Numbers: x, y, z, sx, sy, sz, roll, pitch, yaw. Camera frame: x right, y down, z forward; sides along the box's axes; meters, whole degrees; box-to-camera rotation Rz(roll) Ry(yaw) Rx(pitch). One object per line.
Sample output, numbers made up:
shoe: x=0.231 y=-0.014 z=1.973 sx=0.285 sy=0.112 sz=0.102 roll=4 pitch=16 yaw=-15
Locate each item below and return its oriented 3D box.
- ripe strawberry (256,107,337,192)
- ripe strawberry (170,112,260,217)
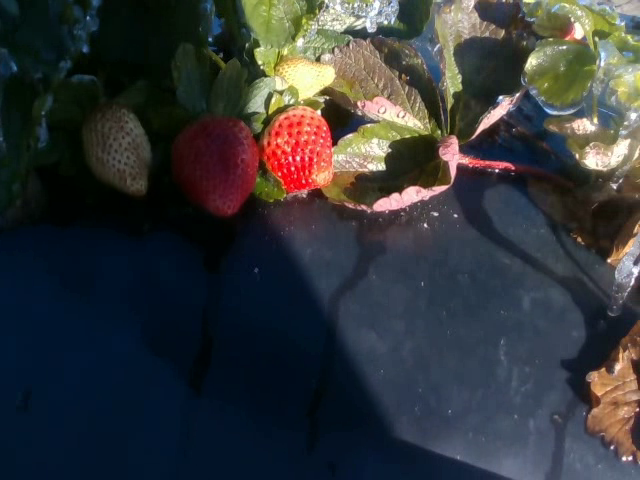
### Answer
ripe strawberry: x=-0.006 y=-0.036 z=0.254 sx=0.036 sy=0.041 sz=0.030 roll=-43 pitch=-15 yaw=-10
ripe strawberry: x=-0.037 y=-0.023 z=0.231 sx=0.036 sy=0.040 sz=0.052 roll=-18 pitch=39 yaw=-6
